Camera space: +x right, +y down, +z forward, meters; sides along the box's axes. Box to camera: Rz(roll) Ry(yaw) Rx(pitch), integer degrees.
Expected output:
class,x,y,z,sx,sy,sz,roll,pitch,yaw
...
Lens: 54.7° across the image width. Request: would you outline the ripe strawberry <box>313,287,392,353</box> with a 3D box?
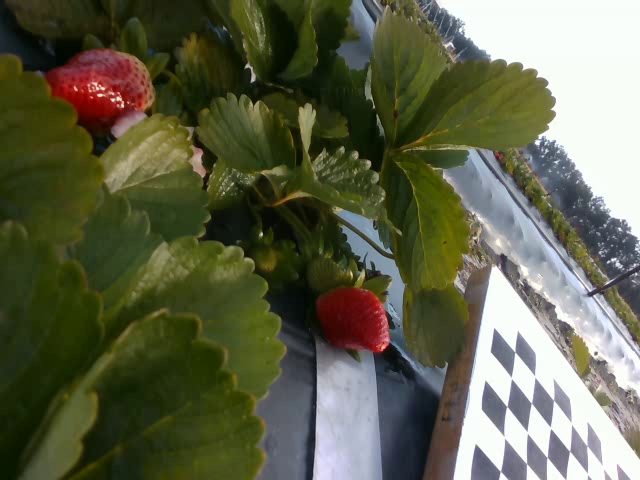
class,x,y,z,sx,sy,sz,roll,pitch,yaw
ripe strawberry,0.022,0.042,0.293,0.035,0.050,0.055,-30,24,16
